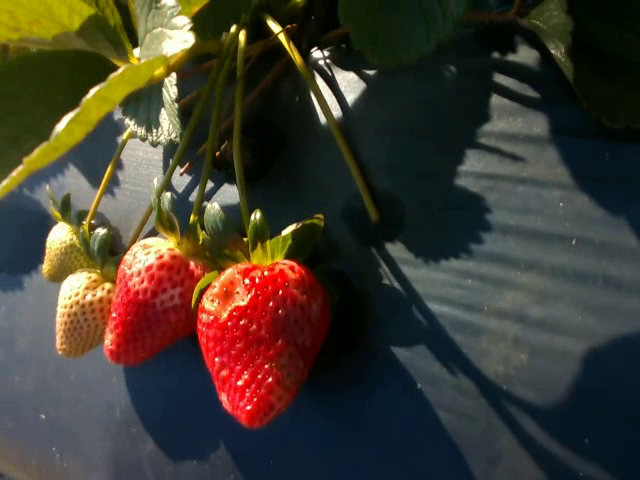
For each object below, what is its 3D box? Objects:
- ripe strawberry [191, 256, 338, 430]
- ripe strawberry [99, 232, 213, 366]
[{"bbox_3d":[-0.019,0.036,0.197,0.052,0.067,0.057,21,-44,-26],"label":"ripe strawberry"},{"bbox_3d":[-0.063,0.023,0.224,0.051,0.061,0.043,33,-6,9],"label":"ripe strawberry"}]
